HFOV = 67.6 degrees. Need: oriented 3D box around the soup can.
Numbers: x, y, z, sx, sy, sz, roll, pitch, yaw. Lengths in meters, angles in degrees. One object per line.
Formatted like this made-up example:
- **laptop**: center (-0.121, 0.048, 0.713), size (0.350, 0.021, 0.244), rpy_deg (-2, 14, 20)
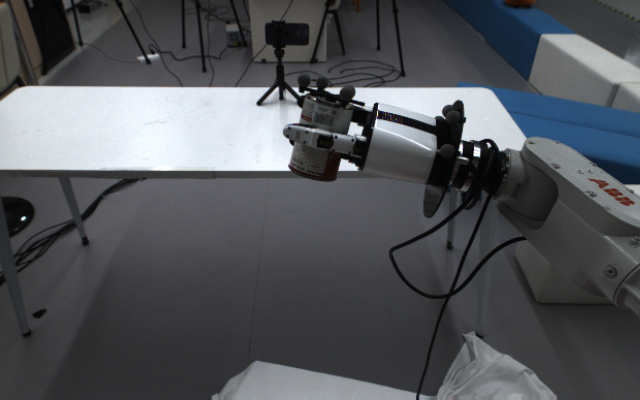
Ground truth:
- **soup can**: center (0.002, -0.083, 0.644), size (0.067, 0.101, 0.067), rpy_deg (13, 18, -4)
